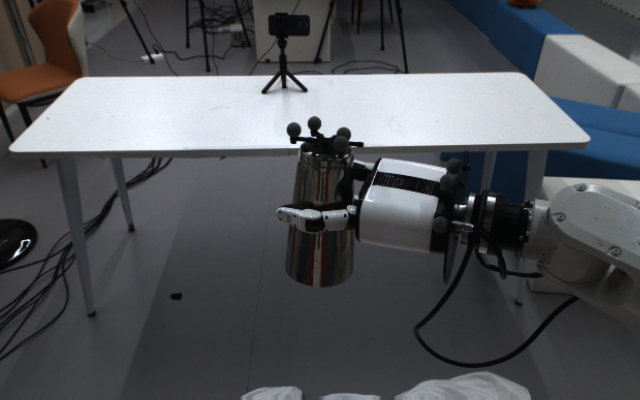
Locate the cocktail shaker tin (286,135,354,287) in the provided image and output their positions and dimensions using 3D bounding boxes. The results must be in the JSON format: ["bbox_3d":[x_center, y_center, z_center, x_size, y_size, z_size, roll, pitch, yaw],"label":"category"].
[{"bbox_3d":[0.004,0.014,0.616,0.093,0.170,0.093,2,26,-1],"label":"cocktail shaker tin"}]
